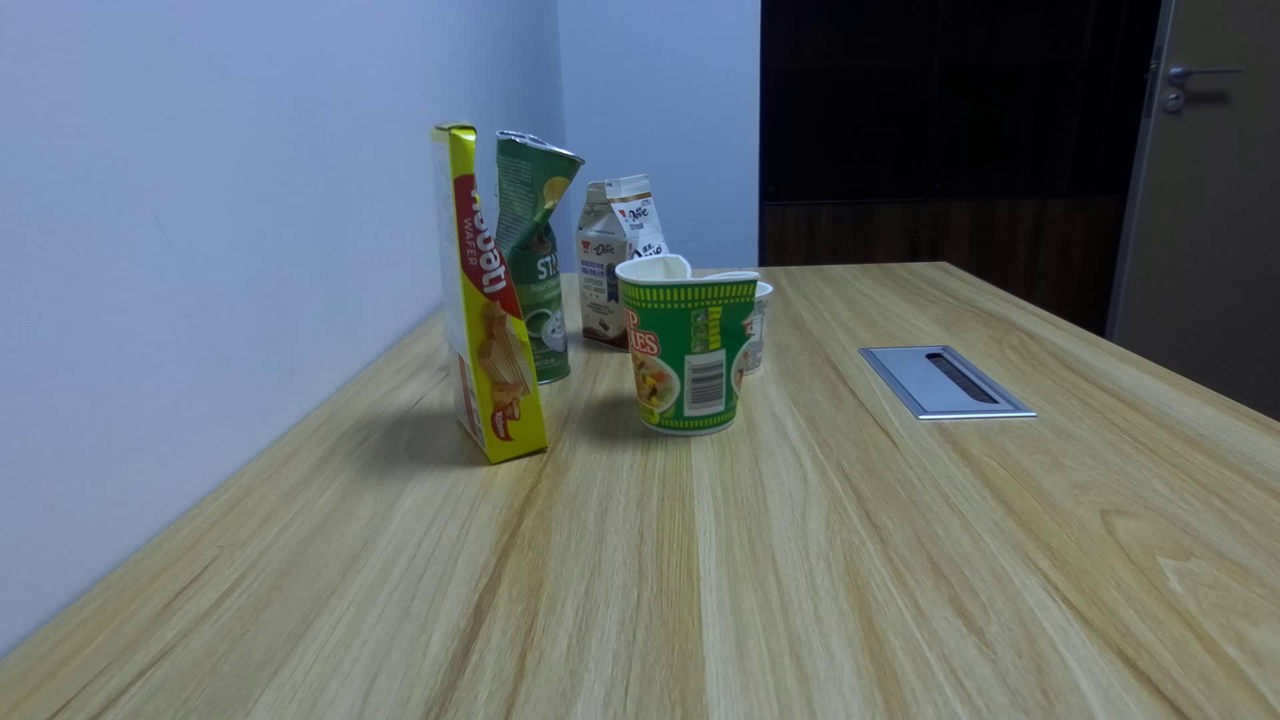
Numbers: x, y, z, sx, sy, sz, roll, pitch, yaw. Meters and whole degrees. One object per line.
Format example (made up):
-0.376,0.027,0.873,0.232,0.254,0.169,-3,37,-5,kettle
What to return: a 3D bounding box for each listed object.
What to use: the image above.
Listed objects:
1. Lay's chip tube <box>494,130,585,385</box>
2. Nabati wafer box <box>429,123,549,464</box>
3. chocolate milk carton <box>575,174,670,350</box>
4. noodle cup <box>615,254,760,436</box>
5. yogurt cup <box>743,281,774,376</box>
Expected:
-0.087,-0.081,0.581,0.071,0.199,0.079,0,19,-15,Lay's chip tube
-0.101,-0.045,0.454,0.043,0.205,0.113,-11,21,-23,Nabati wafer box
-0.008,-0.096,0.673,0.085,0.155,0.072,-18,24,-38,chocolate milk carton
0.028,-0.011,0.488,0.087,0.109,0.093,-6,19,-12,noodle cup
0.076,-0.029,0.597,0.072,0.068,0.072,-1,20,1,yogurt cup
